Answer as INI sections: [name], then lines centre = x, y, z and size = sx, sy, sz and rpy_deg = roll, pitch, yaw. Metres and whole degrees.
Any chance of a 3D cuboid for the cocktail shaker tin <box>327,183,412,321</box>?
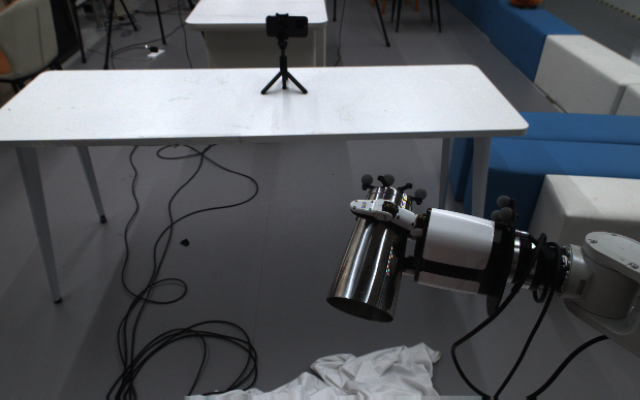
[cocktail shaker tin]
centre = 0.080, 0.066, 0.664
size = 0.093, 0.093, 0.170
rpy_deg = 12, 65, 14
